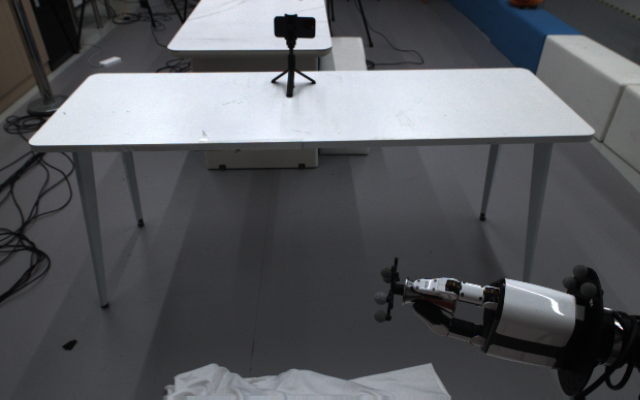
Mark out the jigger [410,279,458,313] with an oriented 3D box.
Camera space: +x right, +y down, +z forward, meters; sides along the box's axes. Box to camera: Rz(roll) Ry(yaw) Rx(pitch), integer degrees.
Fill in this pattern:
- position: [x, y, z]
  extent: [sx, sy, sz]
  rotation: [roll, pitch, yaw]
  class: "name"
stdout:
- position: [0.155, 0.123, 0.651]
  extent: [0.071, 0.043, 0.043]
  rotation: [8, 35, 15]
  class: "jigger"
